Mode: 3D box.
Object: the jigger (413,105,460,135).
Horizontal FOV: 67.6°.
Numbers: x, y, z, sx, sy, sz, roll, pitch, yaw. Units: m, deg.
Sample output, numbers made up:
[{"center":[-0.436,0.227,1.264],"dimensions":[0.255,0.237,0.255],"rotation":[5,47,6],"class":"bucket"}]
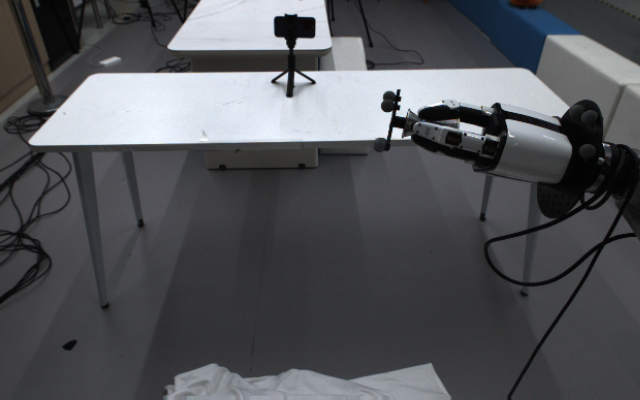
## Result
[{"center":[0.153,-0.099,0.648],"dimensions":[0.071,0.043,0.043],"rotation":[12,36,5],"class":"jigger"}]
